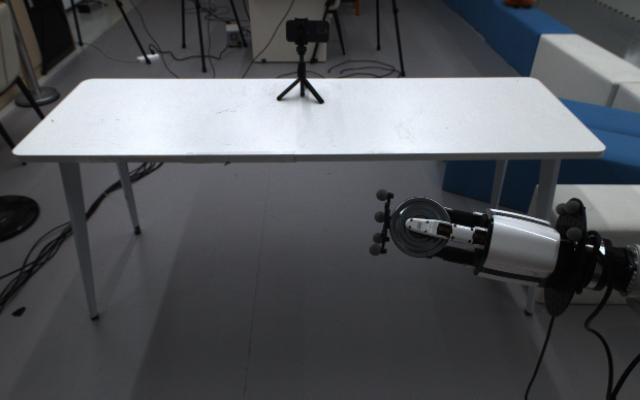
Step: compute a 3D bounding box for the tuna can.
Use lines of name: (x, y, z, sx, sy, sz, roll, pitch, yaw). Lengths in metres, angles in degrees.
tuna can: (0.144, 0.036, 0.685, 0.085, 0.085, 0.034, 9, -7, 10)
